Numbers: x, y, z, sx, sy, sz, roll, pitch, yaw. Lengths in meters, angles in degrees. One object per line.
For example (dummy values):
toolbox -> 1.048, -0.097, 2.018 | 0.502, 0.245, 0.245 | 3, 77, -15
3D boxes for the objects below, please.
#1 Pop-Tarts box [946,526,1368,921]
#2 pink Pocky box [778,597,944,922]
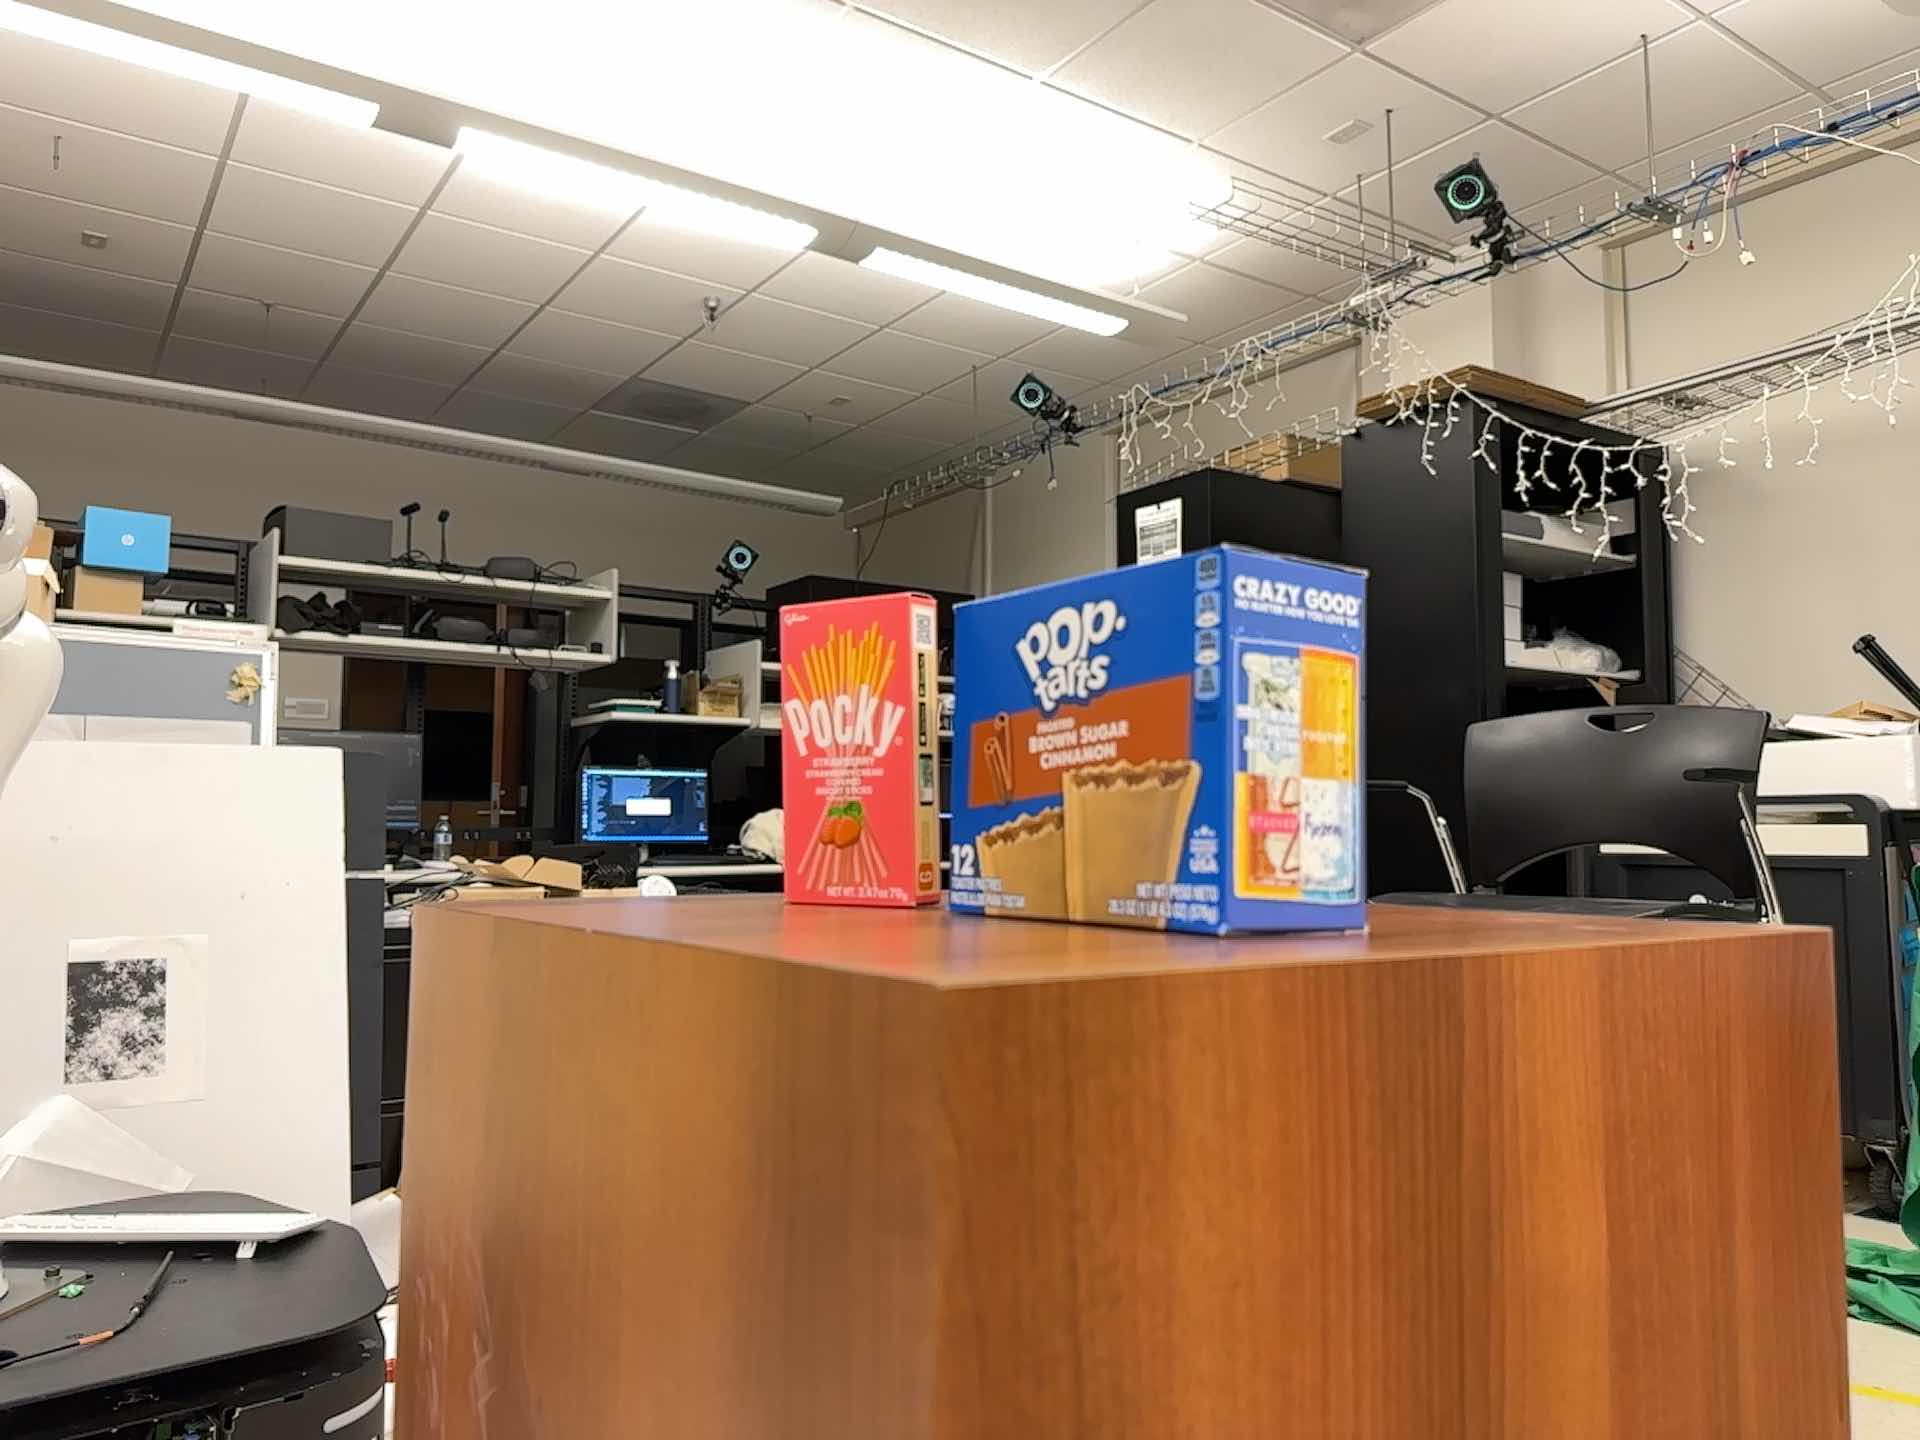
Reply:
Pop-Tarts box -> 0.074, 0.009, 0.556 | 0.075, 0.135, 0.161 | 7, -8, -35
pink Pocky box -> -0.050, 0.021, 0.666 | 0.084, 0.155, 0.029 | -4, -7, 33
